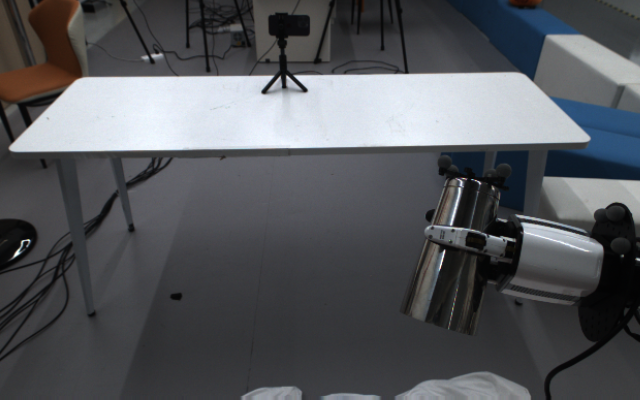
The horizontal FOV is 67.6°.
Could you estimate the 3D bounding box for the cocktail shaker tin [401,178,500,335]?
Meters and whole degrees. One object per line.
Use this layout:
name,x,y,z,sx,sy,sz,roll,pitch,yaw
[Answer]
cocktail shaker tin,0.161,0.063,0.578,0.093,0.170,0.093,16,-7,2
